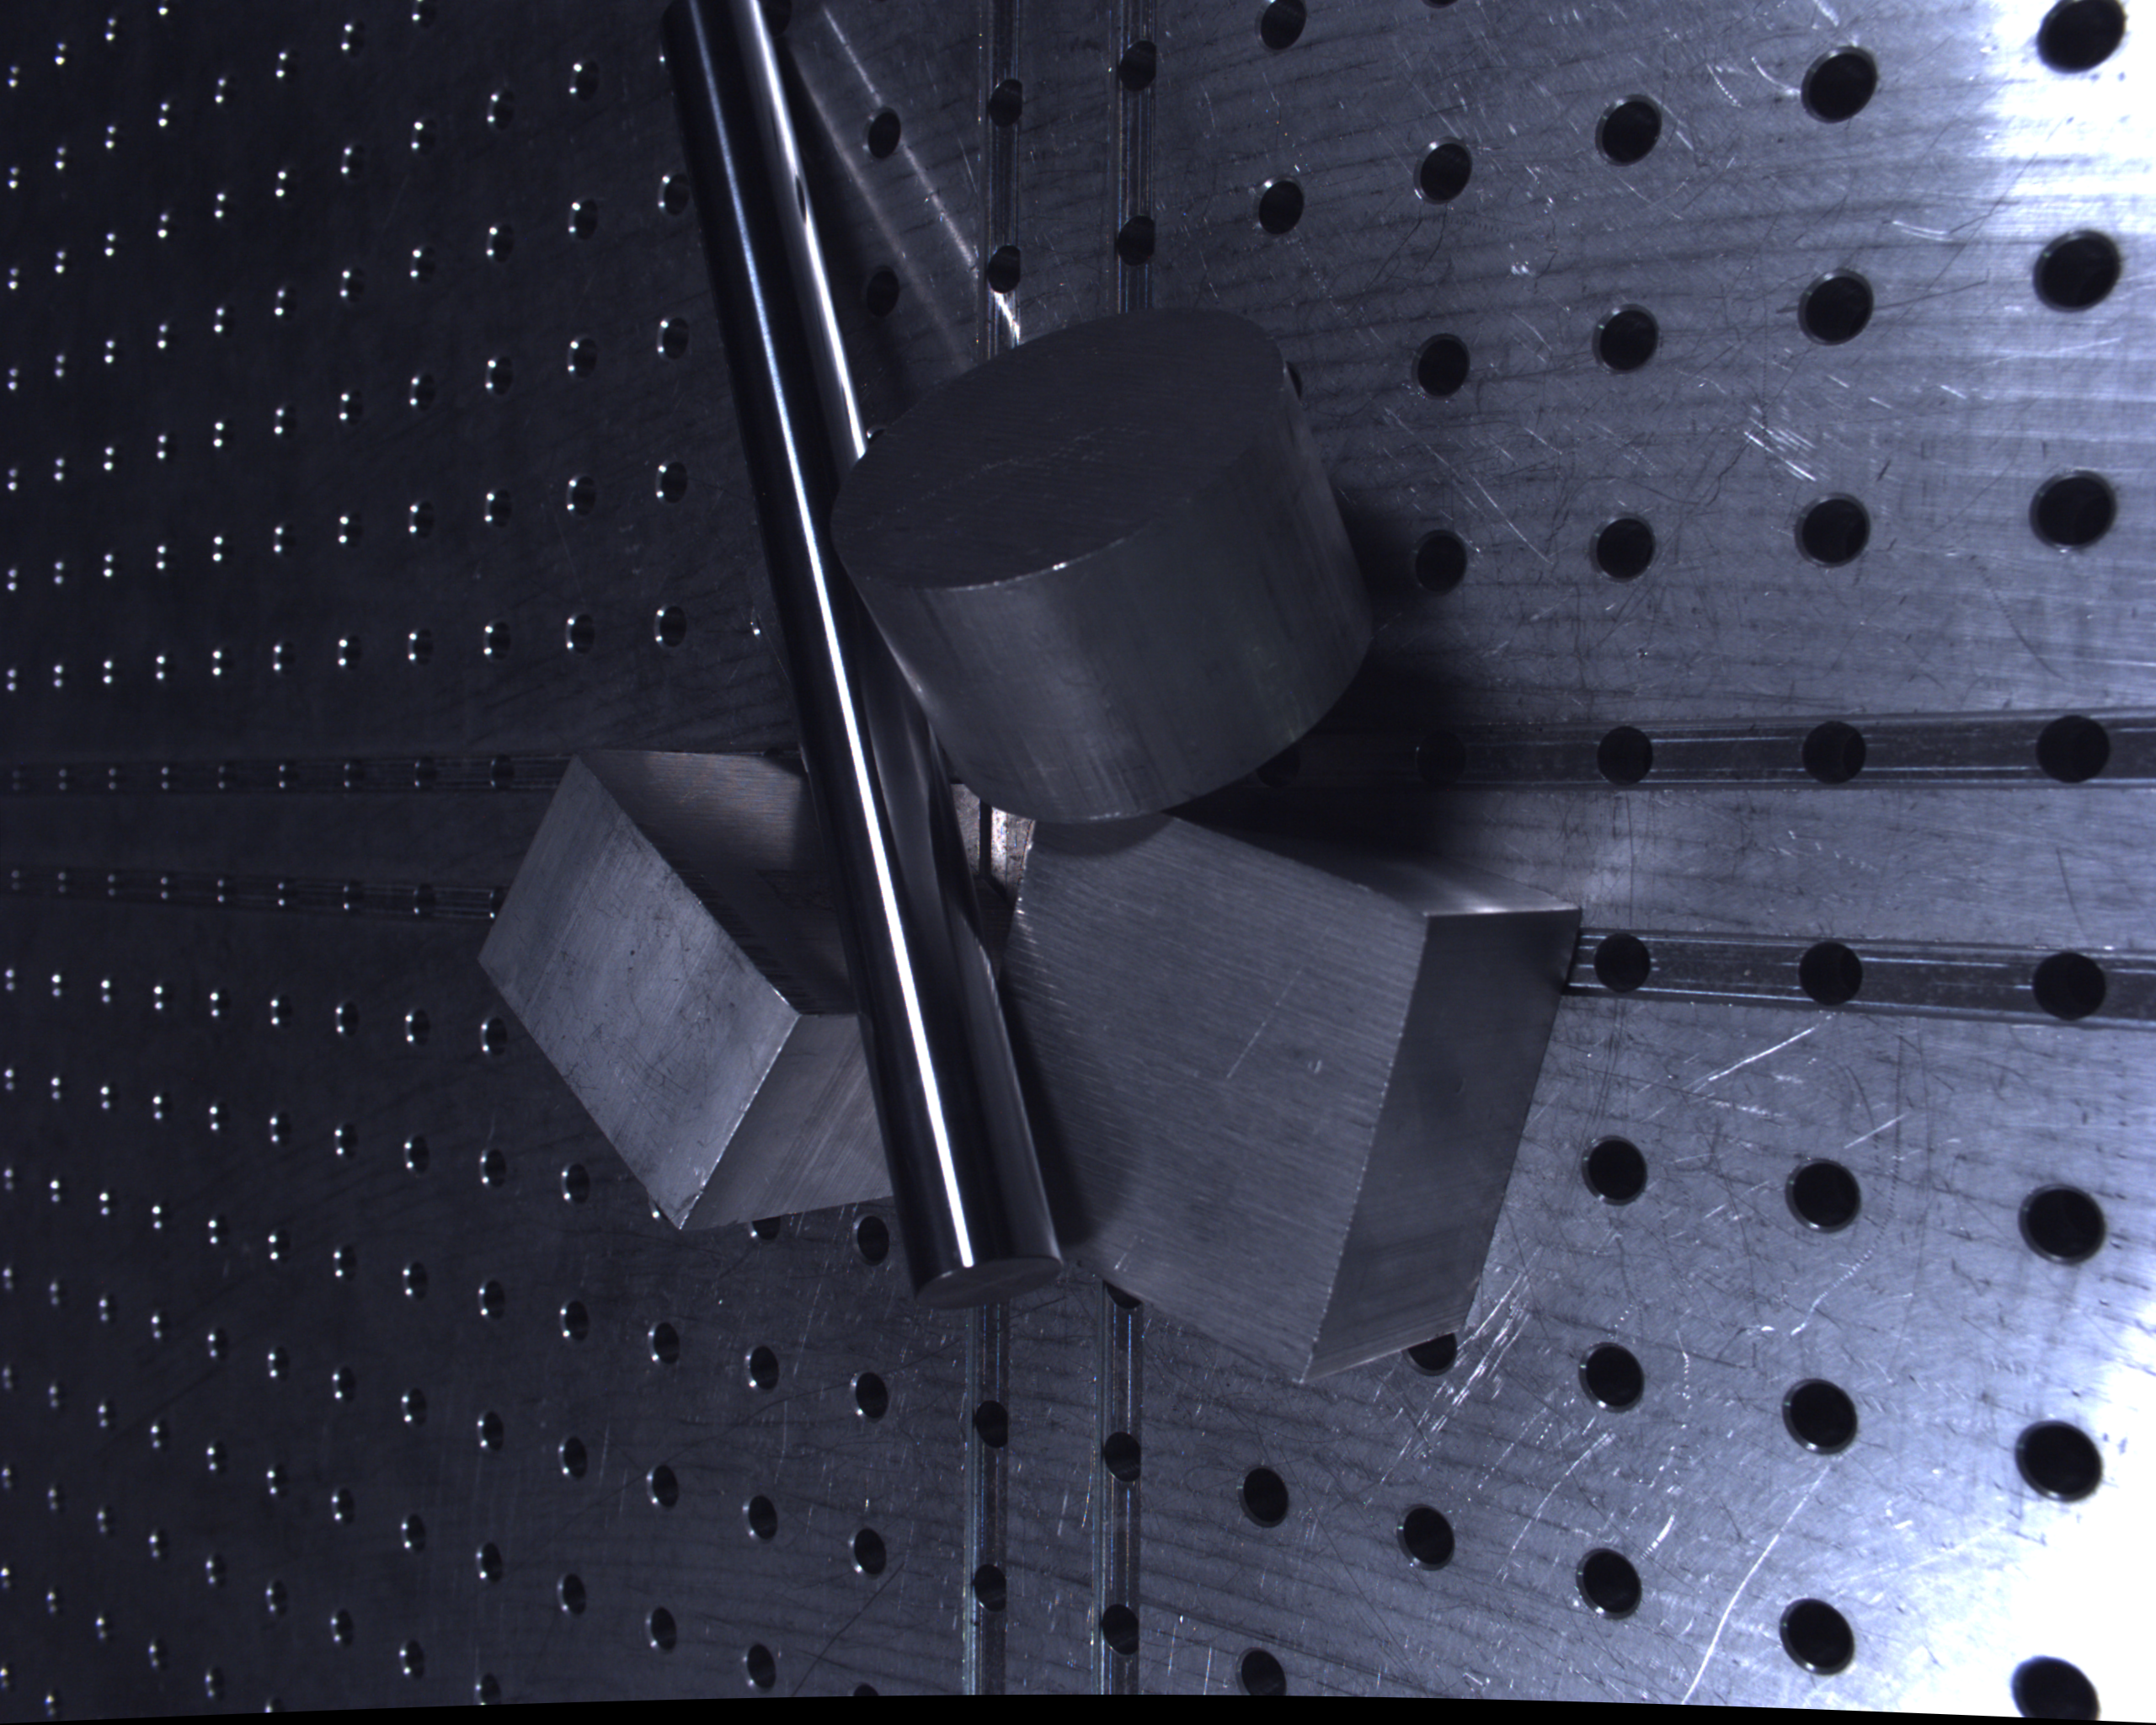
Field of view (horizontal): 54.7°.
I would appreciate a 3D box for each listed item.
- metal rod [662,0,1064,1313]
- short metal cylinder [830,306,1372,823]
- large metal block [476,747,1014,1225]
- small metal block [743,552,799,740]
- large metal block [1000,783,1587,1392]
[{"bbox_3d":[-0.048,-0.060,0.408,0.025,0.025,0.299,-34,57,34],"label":"metal rod"},{"bbox_3d":[0.005,-0.052,0.359,0.080,0.080,0.050,11,141,39],"label":"short metal cylinder"},{"bbox_3d":[-0.058,0.022,0.419,0.080,0.081,0.050,45,117,30],"label":"large metal block"},{"bbox_3d":[-0.039,-0.052,0.440,0.050,0.025,0.050,-30,72,35],"label":"small metal block"},{"bbox_3d":[0.031,0.034,0.365,0.080,0.050,0.079,22,104,37],"label":"large metal block"}]
